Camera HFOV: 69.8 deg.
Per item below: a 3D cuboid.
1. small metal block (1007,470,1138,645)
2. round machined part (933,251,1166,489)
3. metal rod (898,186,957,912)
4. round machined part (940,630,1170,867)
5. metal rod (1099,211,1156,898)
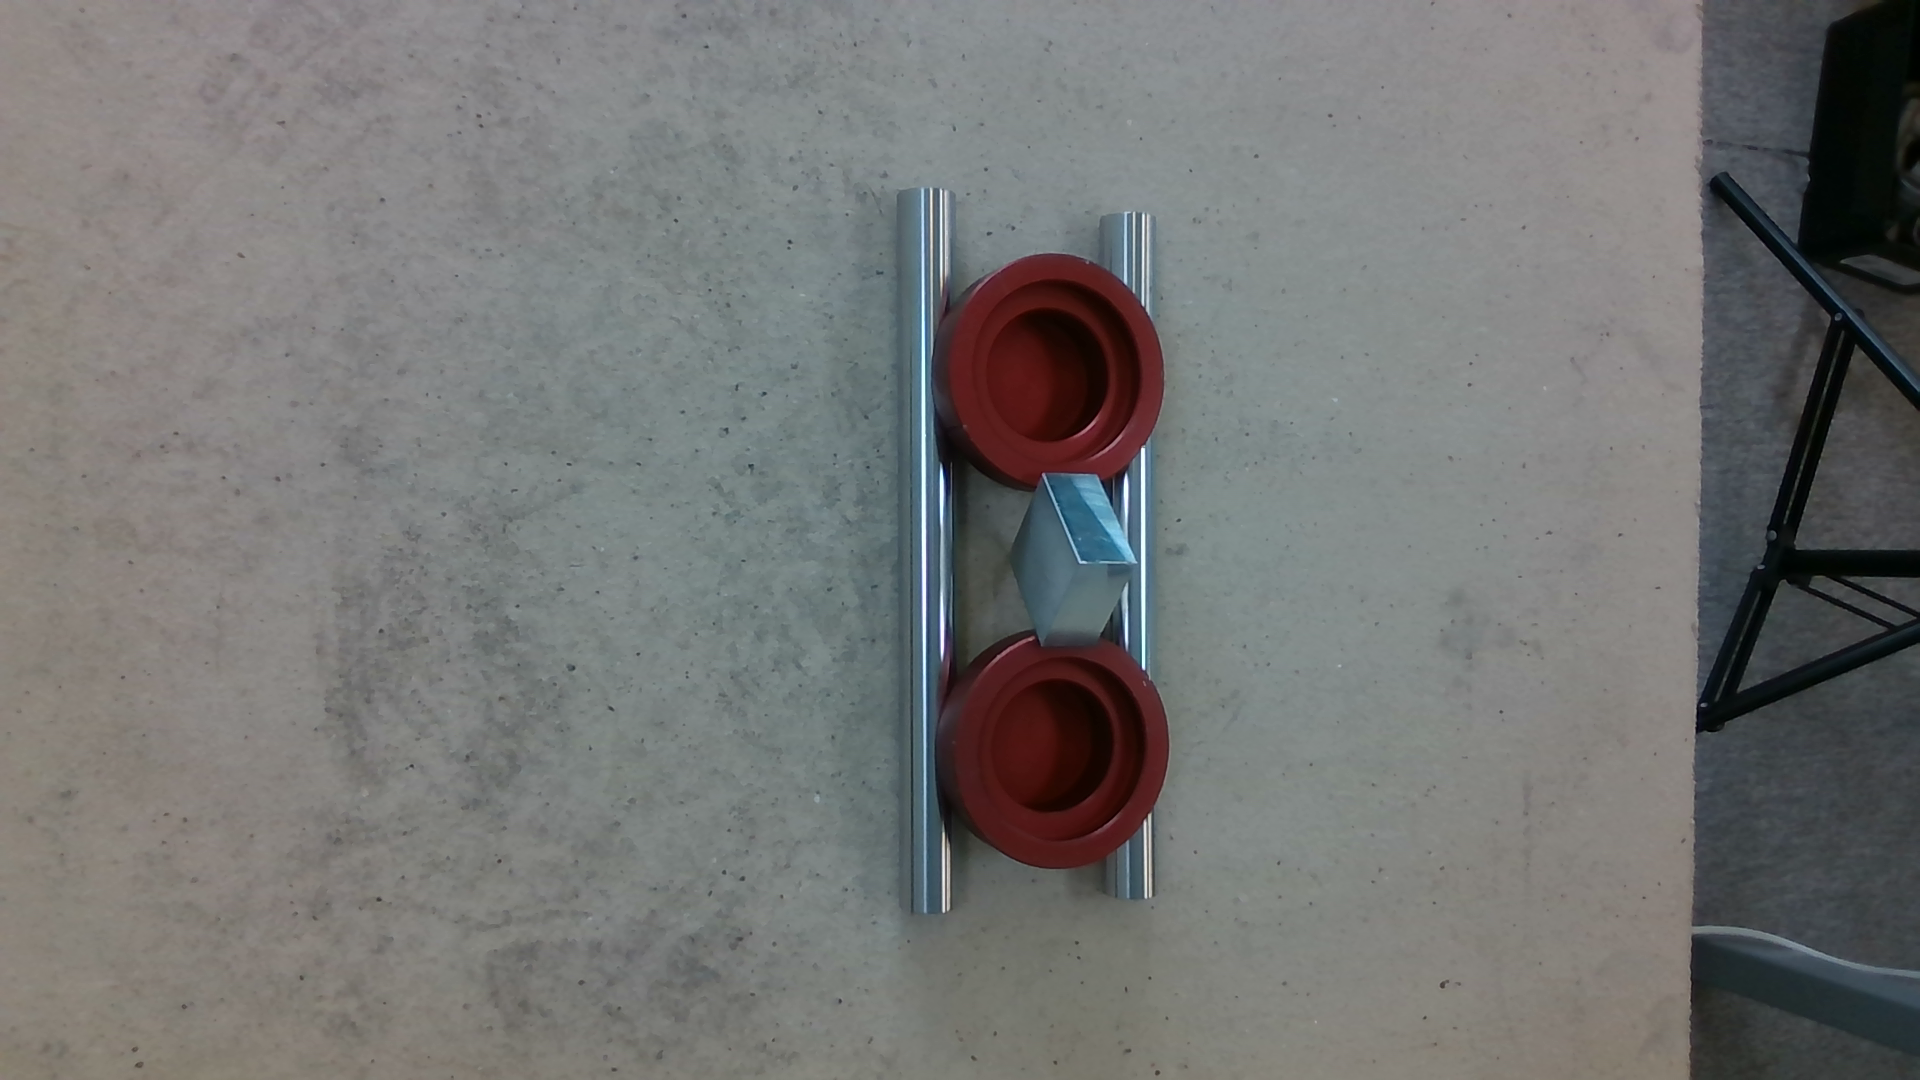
[{"bbox_3d":[0.045,0.007,0.562,0.025,0.050,0.050,0,47,-21],"label":"small metal block"},{"bbox_3d":[0.034,-0.070,0.585,0.098,0.042,0.098,0,90,-20],"label":"round machined part"},{"bbox_3d":[-0.014,0.004,0.581,0.025,0.025,0.300,0,90,-20],"label":"metal rod"},{"bbox_3d":[0.036,0.086,0.586,0.098,0.042,0.098,0,90,-20],"label":"round machined part"},{"bbox_3d":[0.075,0.007,0.614,0.025,0.025,0.300,0,90,-20],"label":"metal rod"}]
